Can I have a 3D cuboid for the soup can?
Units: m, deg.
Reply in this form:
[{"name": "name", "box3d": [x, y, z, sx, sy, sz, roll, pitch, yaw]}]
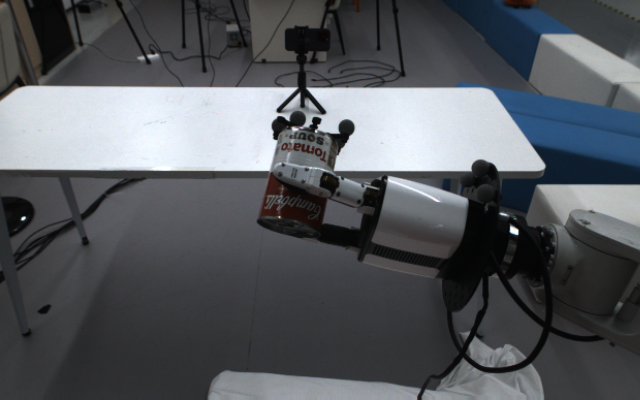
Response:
[{"name": "soup can", "box3d": [-0.020, -0.019, 0.511, 0.067, 0.067, 0.101, 8, 74, 9]}]
